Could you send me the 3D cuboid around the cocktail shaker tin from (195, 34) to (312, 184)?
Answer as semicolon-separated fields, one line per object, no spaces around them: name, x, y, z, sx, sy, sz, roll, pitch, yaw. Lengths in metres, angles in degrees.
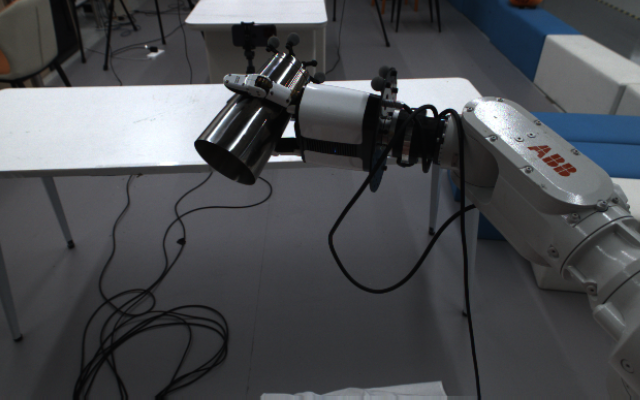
cocktail shaker tin;-0.080;-0.118;0.649;0.093;0.093;0.170;20;67;24
